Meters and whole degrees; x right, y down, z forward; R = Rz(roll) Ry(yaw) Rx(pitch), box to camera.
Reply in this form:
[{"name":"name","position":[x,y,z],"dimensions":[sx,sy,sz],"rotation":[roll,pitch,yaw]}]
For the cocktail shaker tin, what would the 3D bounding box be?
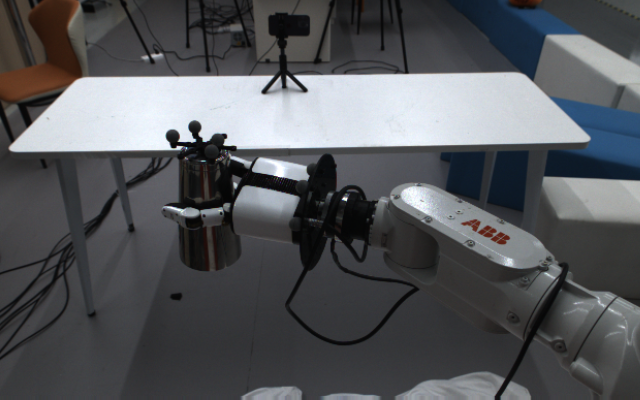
[{"name":"cocktail shaker tin","position":[-0.160,0.006,0.690],"dimensions":[0.093,0.170,0.093],"rotation":[3,33,-2]}]
